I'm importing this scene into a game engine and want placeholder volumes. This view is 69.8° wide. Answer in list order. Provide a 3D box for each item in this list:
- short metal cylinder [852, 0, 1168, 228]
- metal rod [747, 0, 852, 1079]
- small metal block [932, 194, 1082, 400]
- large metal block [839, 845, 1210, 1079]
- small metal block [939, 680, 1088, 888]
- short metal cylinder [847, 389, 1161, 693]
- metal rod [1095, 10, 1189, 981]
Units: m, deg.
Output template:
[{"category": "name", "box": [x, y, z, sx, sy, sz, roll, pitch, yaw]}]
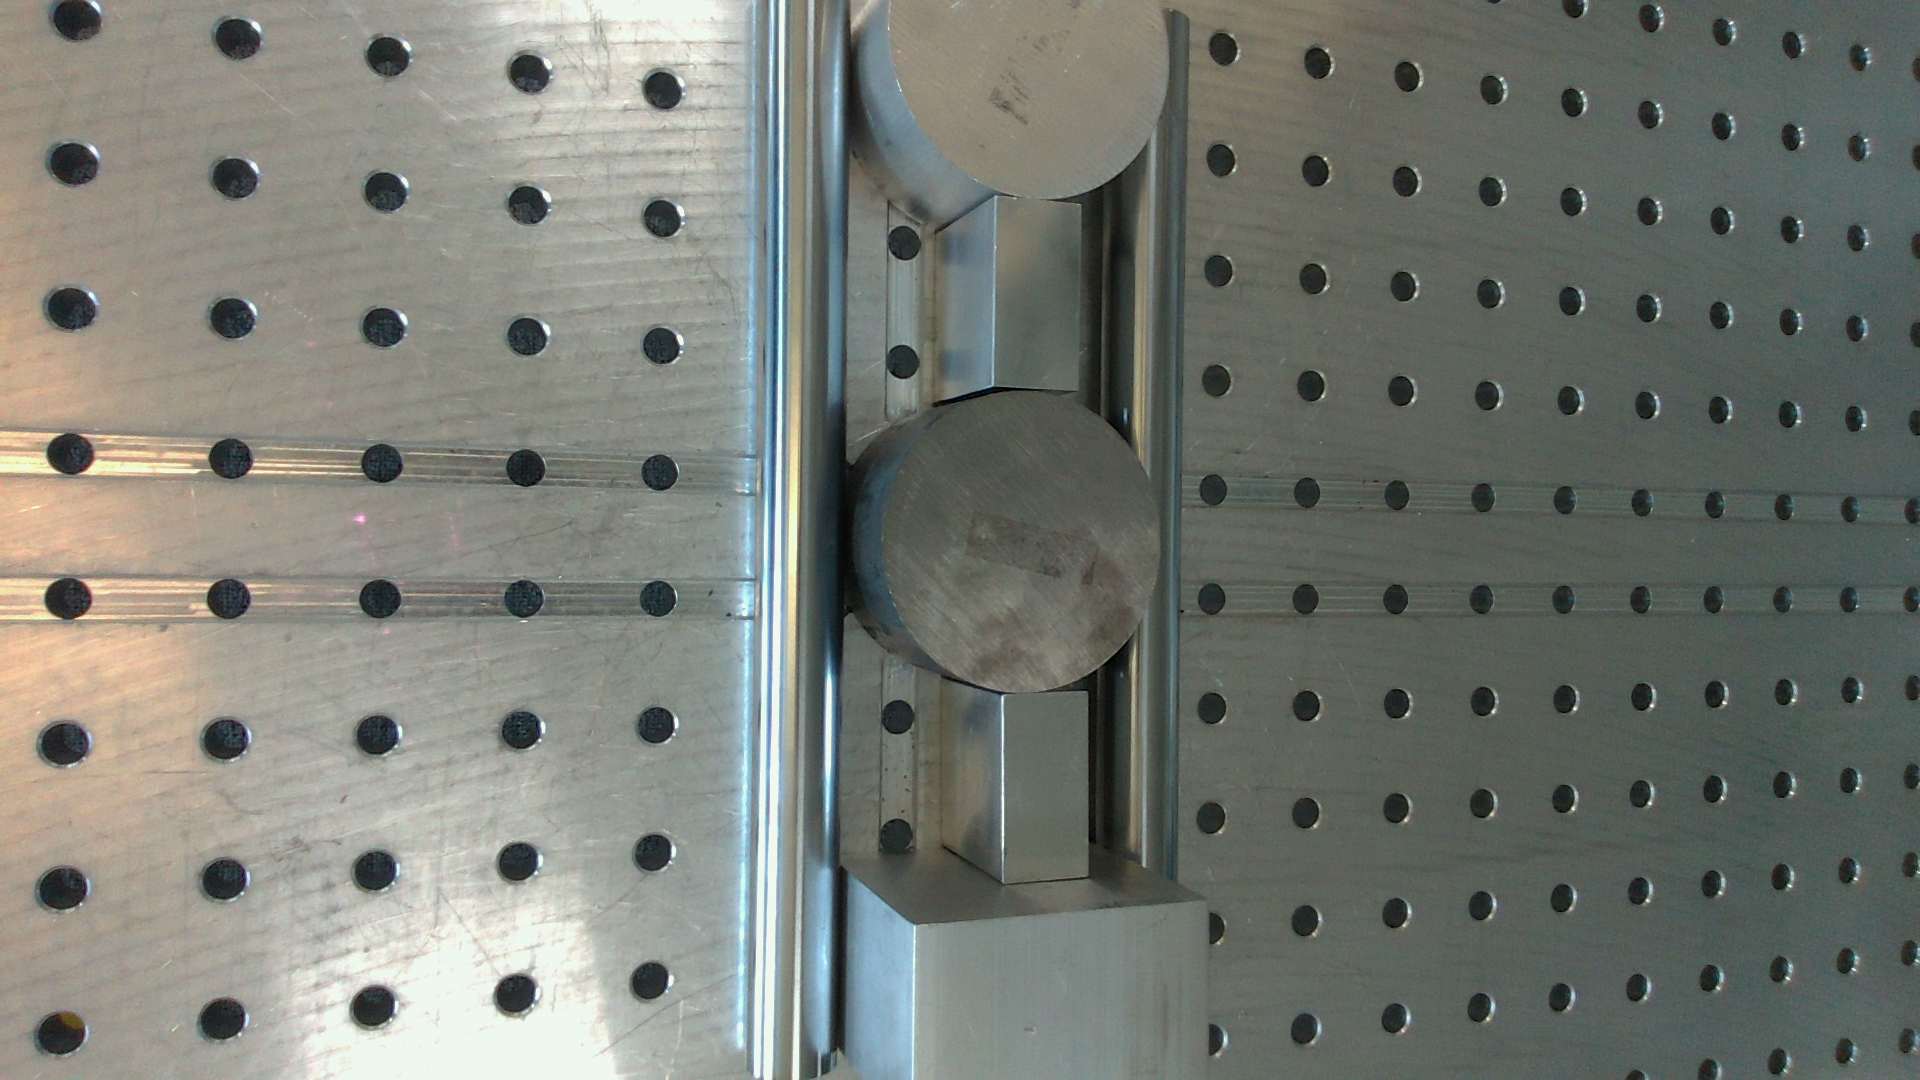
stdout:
[{"category": "short metal cylinder", "box": [0.011, -0.130, 0.386, 0.080, 0.050, 0.080, 0, 90, -20]}, {"category": "metal rod", "box": [-0.044, -0.006, 0.379, 0.025, 0.025, 0.300, 1, 90, -20]}, {"category": "small metal block", "box": [0.012, -0.065, 0.386, 0.025, 0.050, 0.050, 1, 90, -20]}, {"category": "large metal block", "box": [0.012, 0.116, 0.371, 0.080, 0.080, 0.050, 1, 90, -20]}, {"category": "small metal block", "box": [0.014, 0.066, 0.387, 0.025, 0.050, 0.050, 0, 90, -20]}, {"category": "short metal cylinder", "box": [0.009, 0.000, 0.386, 0.080, 0.050, 0.080, 0, 90, -20]}, {"category": "metal rod", "box": [0.054, -0.006, 0.415, 0.025, 0.025, 0.300, 1, 90, -20]}]
